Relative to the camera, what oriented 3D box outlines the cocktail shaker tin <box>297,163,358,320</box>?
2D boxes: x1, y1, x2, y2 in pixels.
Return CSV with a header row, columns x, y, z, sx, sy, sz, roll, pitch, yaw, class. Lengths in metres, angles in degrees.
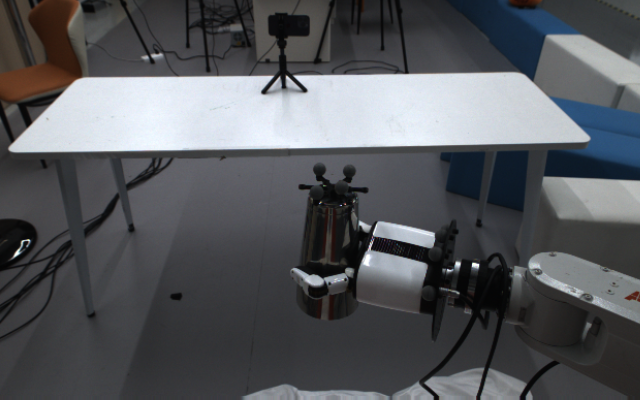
x,y,z,sx,sy,sz,roll,pitch,yaw,class
0.016,0.067,0.662,0.093,0.170,0.093,2,28,-1,cocktail shaker tin
